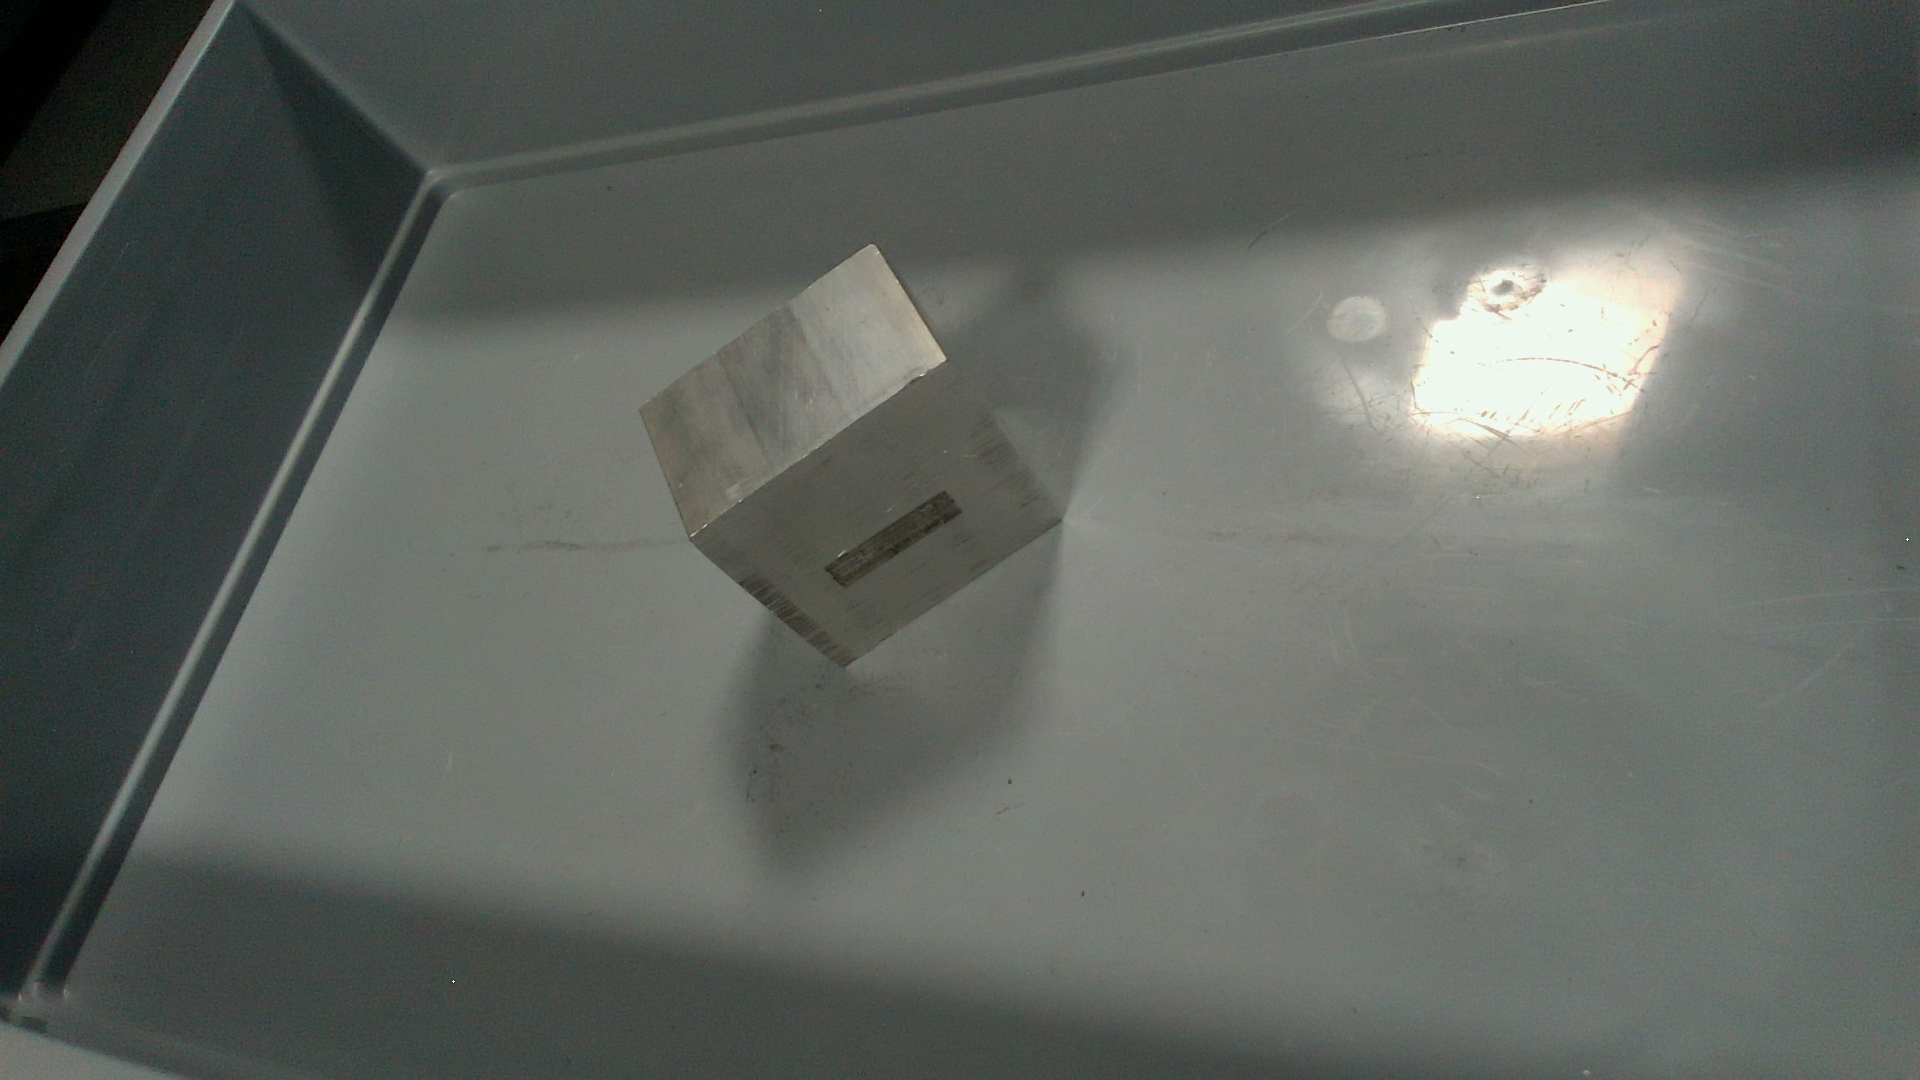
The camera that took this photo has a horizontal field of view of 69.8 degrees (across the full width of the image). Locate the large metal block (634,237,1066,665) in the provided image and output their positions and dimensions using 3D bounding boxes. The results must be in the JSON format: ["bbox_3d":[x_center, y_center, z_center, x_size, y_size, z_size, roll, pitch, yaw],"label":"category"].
[{"bbox_3d":[-0.029,-0.022,0.384,0.080,0.080,0.050,-35,51,6],"label":"large metal block"}]
